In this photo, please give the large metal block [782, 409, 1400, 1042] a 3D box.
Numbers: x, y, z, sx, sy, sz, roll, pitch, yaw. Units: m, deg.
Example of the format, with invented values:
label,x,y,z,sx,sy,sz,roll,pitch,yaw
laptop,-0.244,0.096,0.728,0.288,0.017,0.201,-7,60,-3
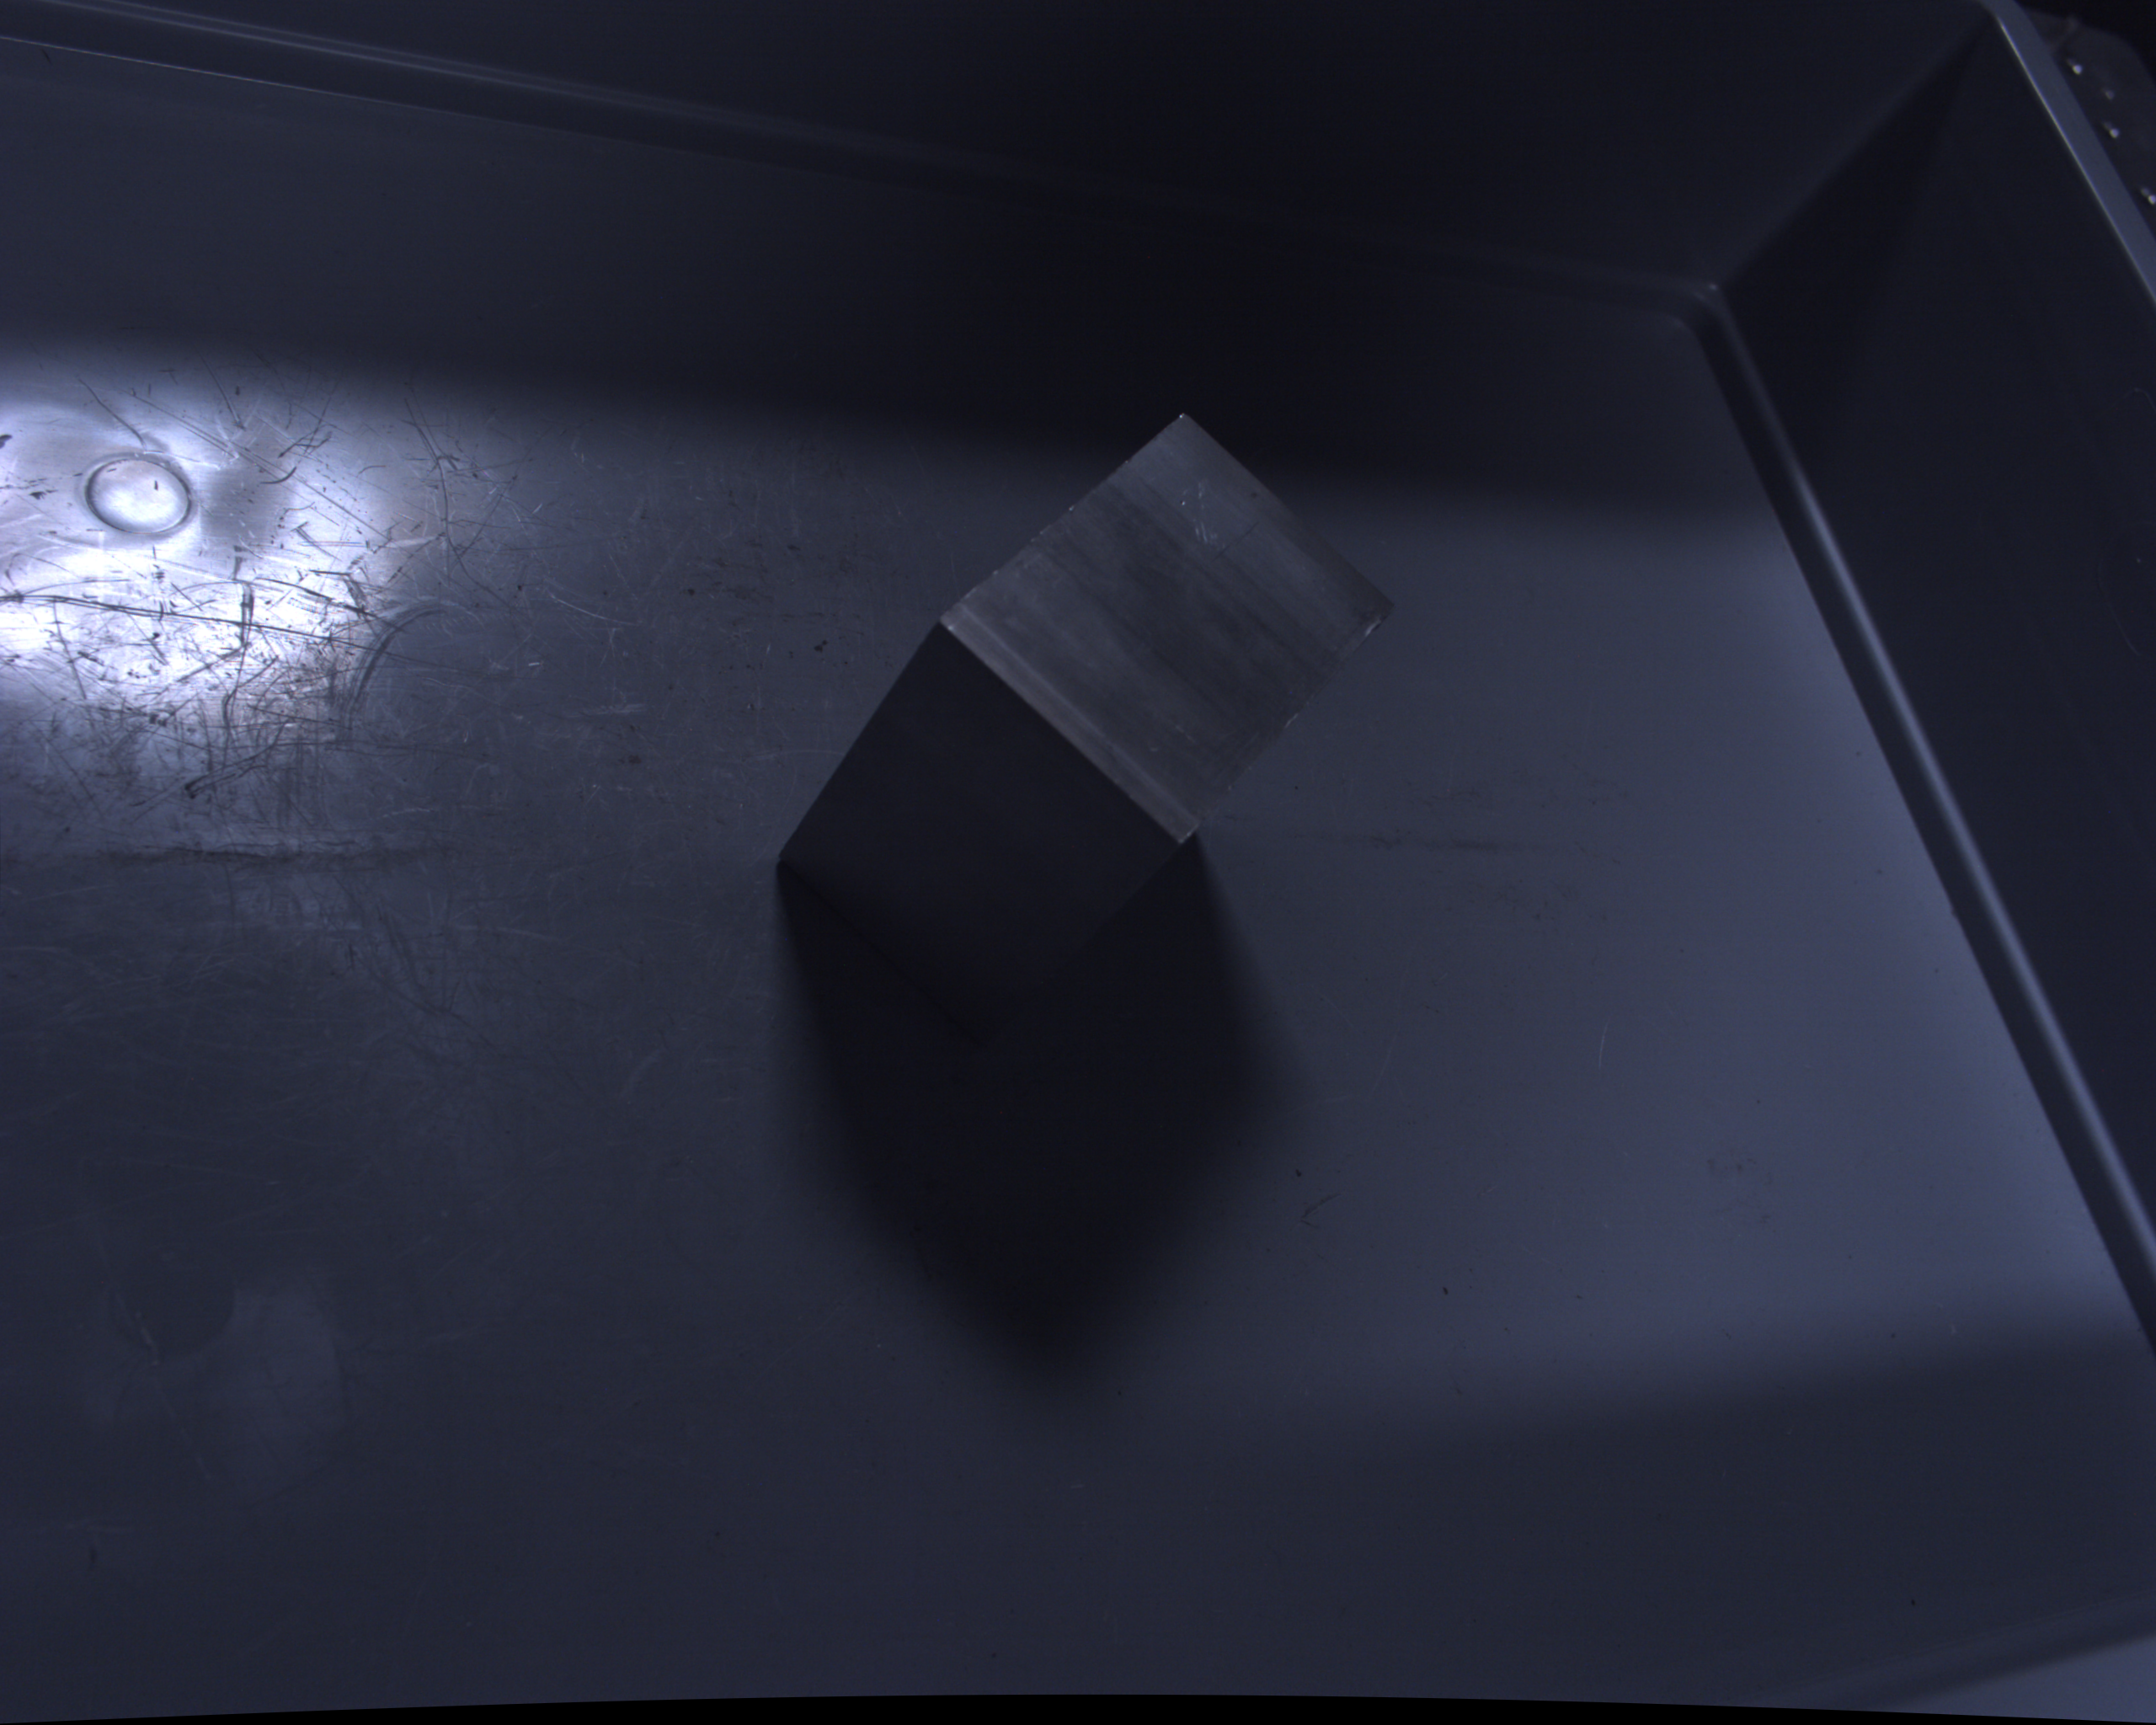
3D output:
label,x,y,z,sx,sy,sz,roll,pitch,yaw
large metal block,0.002,-0.024,0.384,0.050,0.080,0.080,43,51,1
